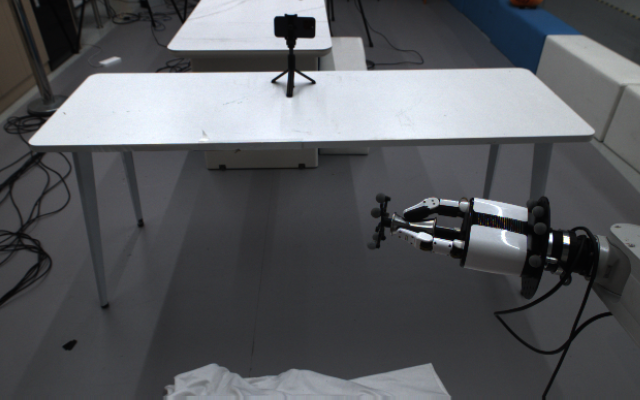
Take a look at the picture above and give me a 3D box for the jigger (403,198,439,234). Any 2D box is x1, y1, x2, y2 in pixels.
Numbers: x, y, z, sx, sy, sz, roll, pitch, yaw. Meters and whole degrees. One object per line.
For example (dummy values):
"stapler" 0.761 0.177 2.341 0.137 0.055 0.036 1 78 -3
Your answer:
"jigger" 0.157 0.040 0.782 0.071 0.043 0.043 9 35 17
